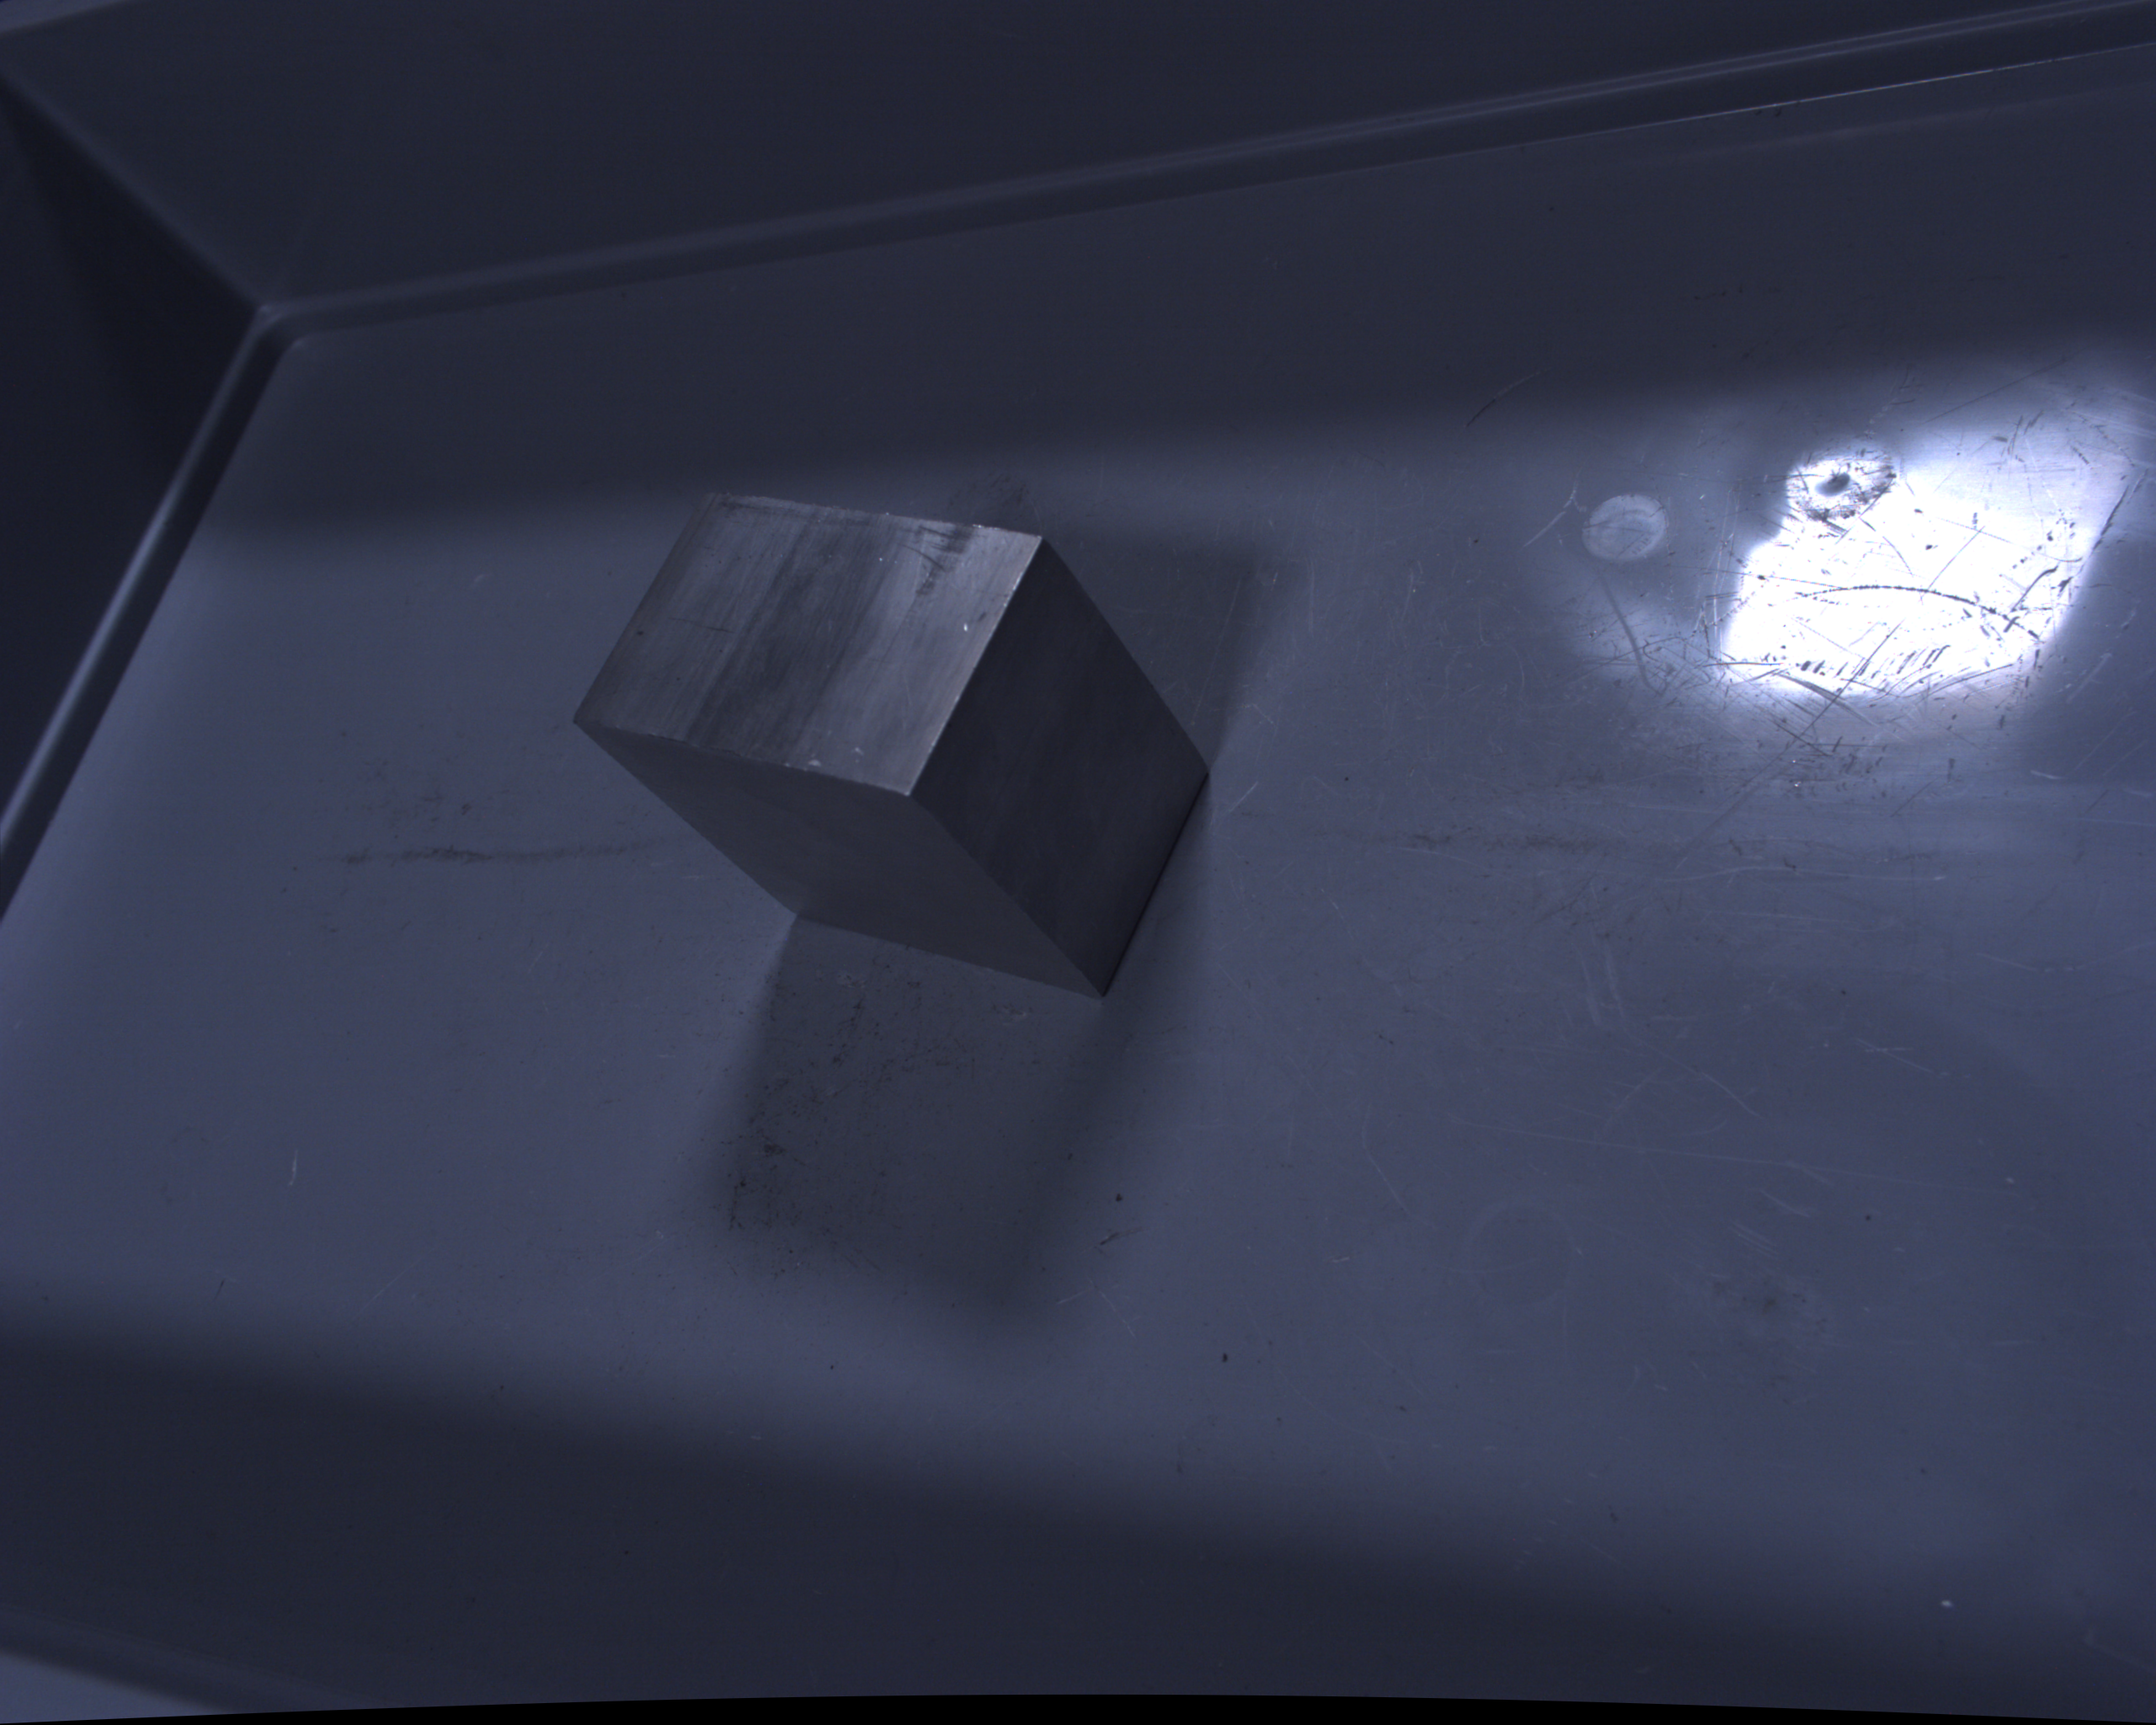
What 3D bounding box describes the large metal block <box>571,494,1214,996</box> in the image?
[{"bbox_3d":[-0.033,-0.022,0.397,0.080,0.080,0.050,13,69,33],"label":"large metal block"}]
